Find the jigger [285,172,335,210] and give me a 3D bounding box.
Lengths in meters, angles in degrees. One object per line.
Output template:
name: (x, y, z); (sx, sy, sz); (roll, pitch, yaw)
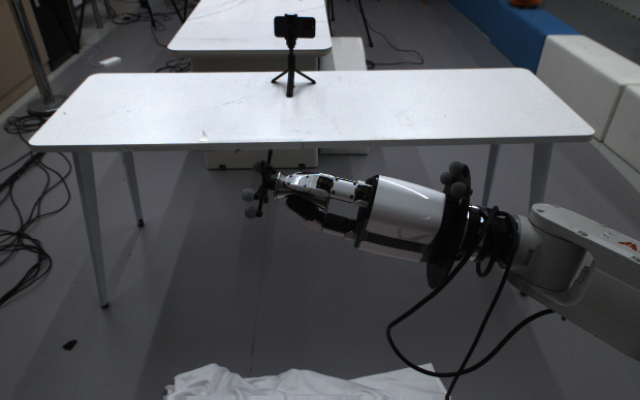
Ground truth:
jigger: (-0.014, -0.016, 0.613); (0.071, 0.043, 0.043); (11, 35, 3)
